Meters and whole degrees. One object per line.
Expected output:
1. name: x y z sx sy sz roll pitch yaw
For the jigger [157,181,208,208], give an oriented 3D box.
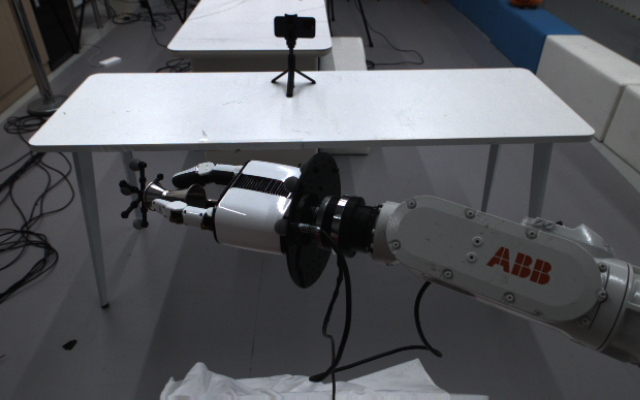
1. jigger: -0.183 -0.004 0.630 0.071 0.043 0.043 6 34 21
